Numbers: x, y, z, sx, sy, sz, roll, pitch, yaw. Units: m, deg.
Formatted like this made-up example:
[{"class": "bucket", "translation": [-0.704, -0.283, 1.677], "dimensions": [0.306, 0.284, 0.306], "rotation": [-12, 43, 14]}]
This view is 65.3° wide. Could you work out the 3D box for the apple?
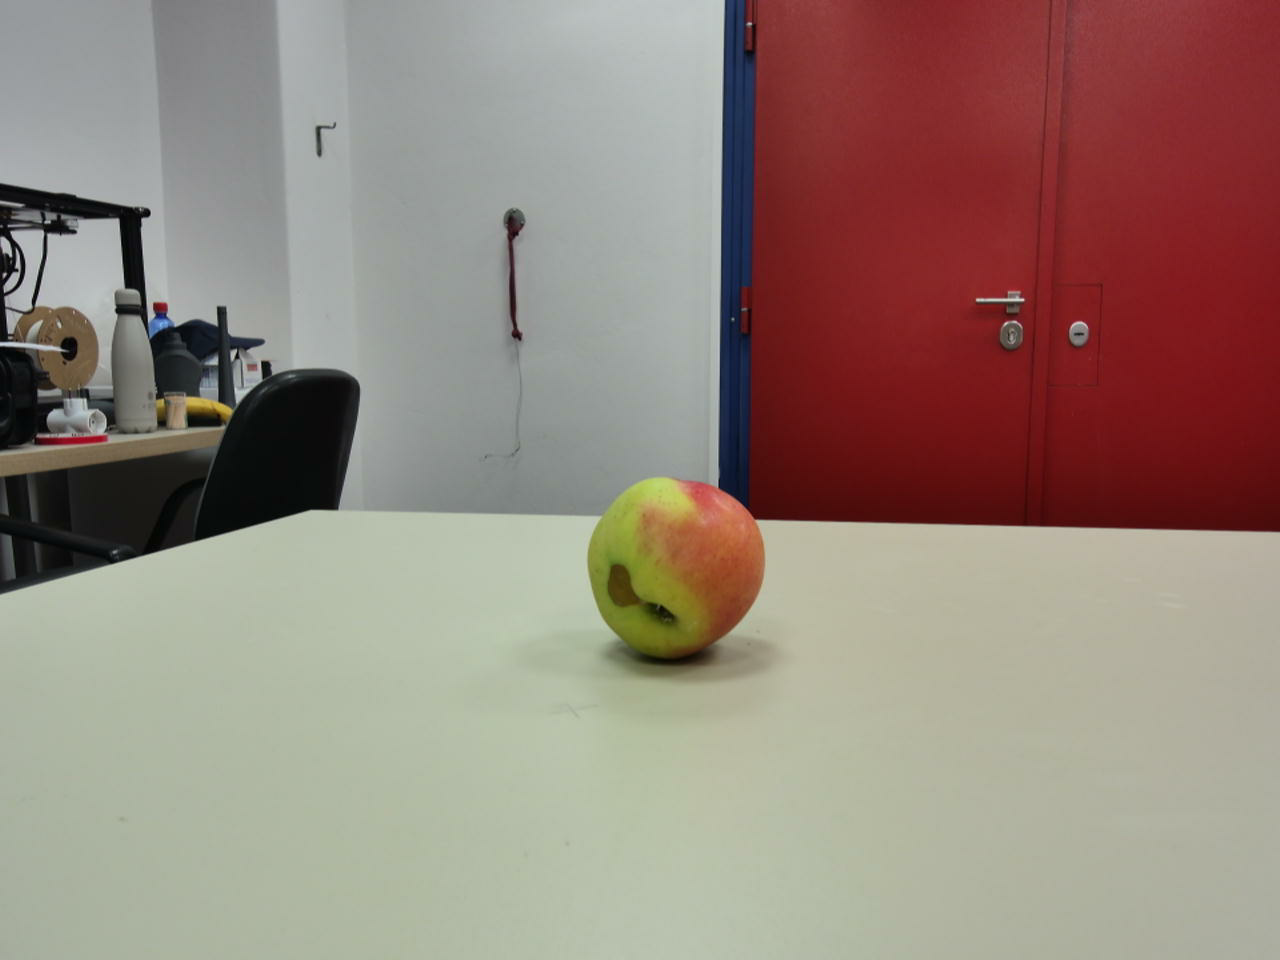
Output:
[{"class": "apple", "translation": [0.016, 0.037, 0.425], "dimensions": [0.075, 0.074, 0.075], "rotation": [-1, 4, -8]}]
